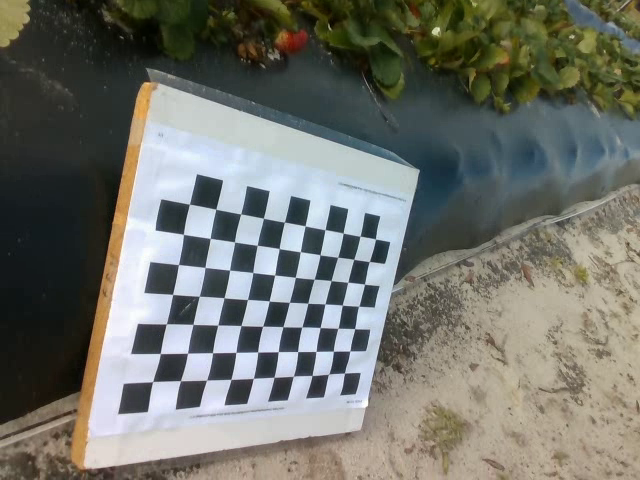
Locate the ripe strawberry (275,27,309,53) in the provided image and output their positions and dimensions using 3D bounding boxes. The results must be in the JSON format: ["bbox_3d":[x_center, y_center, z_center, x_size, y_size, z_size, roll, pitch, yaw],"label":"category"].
[{"bbox_3d":[-0.021,-0.139,0.408,0.027,0.022,0.021,-18,32,-26],"label":"ripe strawberry"}]
